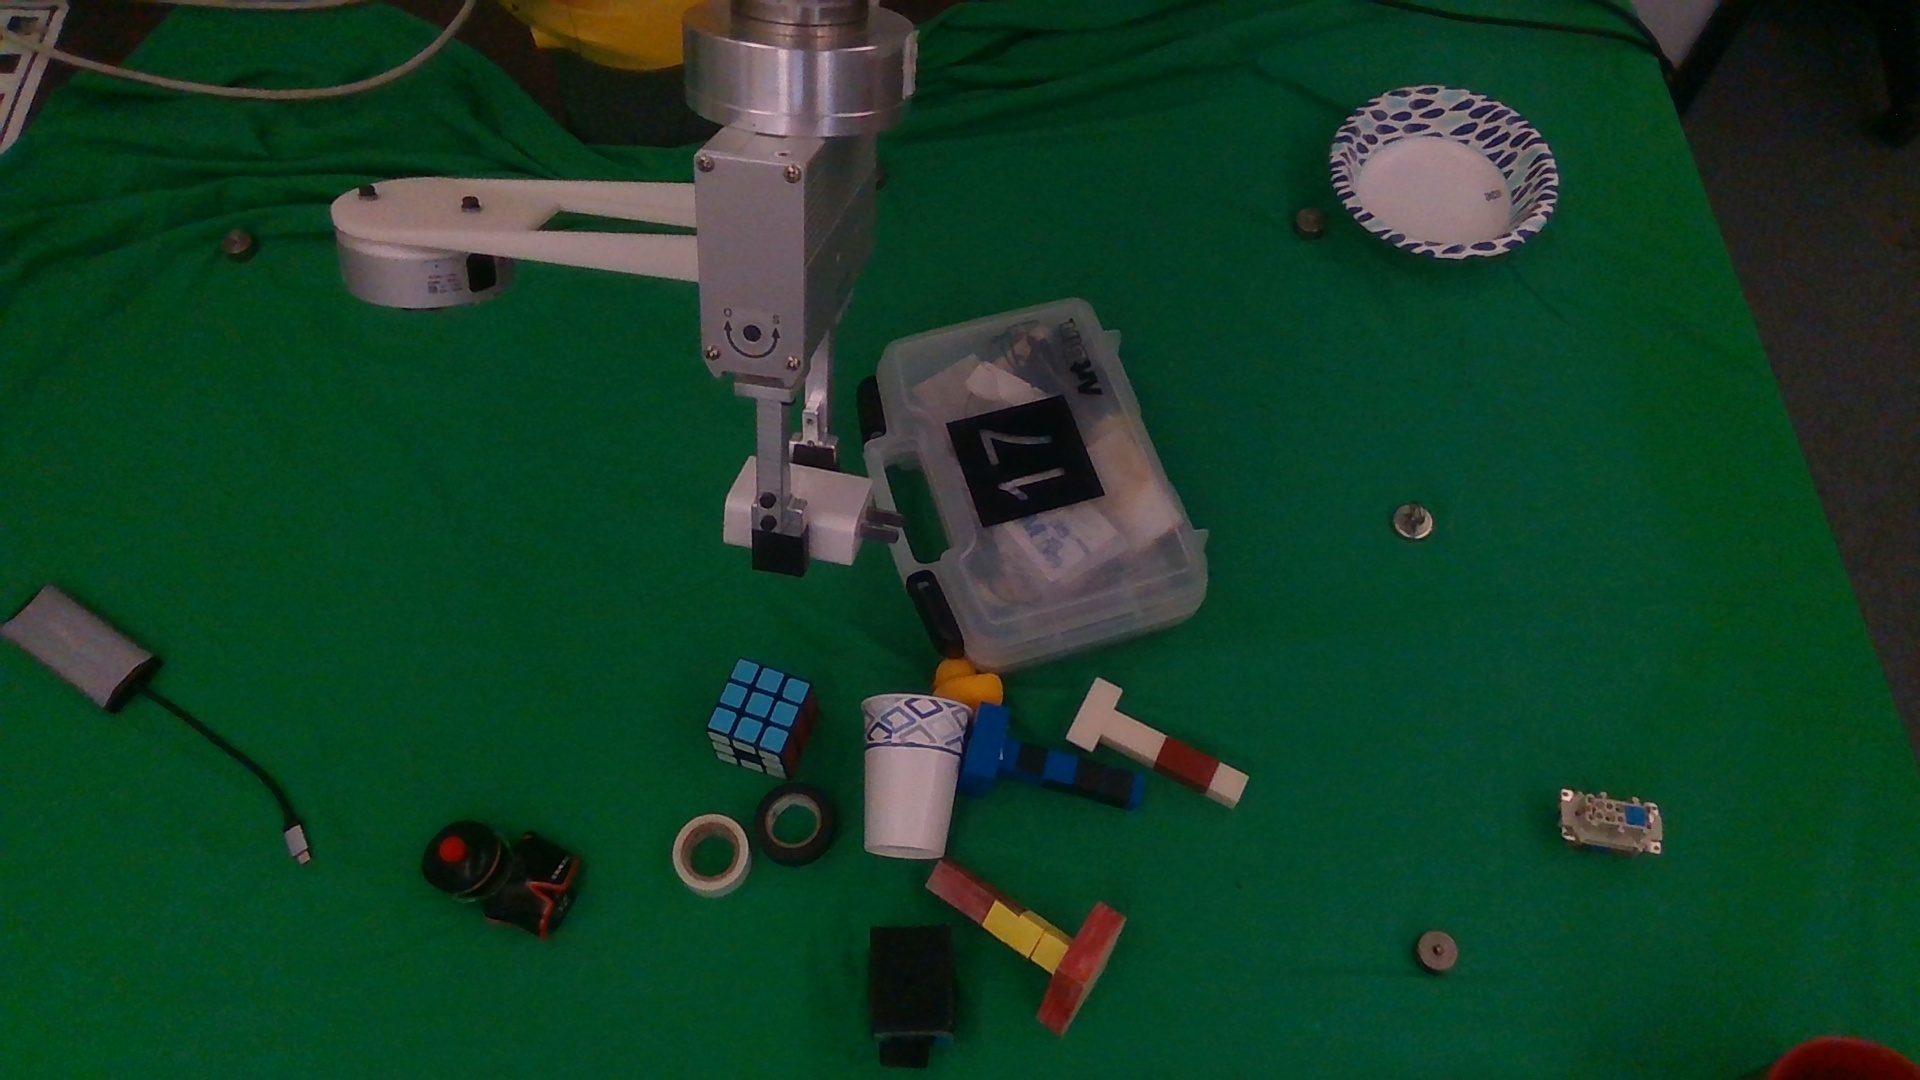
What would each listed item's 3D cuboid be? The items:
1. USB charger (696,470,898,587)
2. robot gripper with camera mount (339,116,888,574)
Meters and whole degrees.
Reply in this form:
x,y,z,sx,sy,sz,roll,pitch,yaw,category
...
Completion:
x,y,z,sx,sy,sz,roll,pitch,yaw,category
-0.063,-0.003,0.562,0.076,0.029,0.044,11,40,12,USB charger
-0.141,-0.078,0.526,0.193,0.158,0.119,11,32,3,robot gripper with camera mount
